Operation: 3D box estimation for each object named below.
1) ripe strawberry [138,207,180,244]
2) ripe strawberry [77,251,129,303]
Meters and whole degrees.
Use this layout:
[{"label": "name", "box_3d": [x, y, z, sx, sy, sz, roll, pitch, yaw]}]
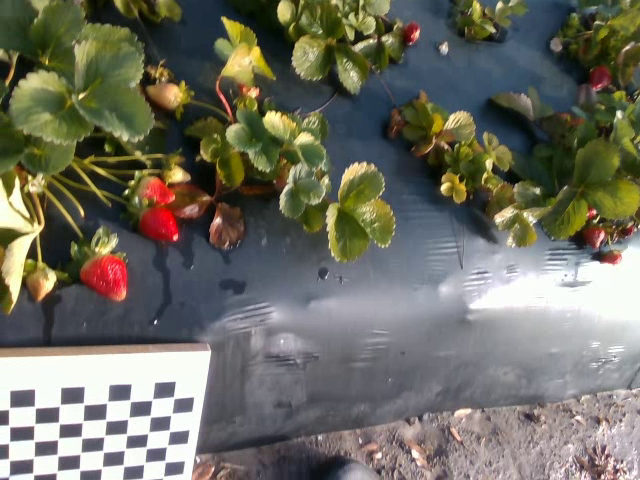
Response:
[{"label": "ripe strawberry", "box_3d": [-0.192, -0.013, 0.677, 0.055, 0.044, 0.042, 38, 9, 24]}, {"label": "ripe strawberry", "box_3d": [-0.241, 0.046, 0.638, 0.050, 0.065, 0.049, -34, -27, -2]}]
